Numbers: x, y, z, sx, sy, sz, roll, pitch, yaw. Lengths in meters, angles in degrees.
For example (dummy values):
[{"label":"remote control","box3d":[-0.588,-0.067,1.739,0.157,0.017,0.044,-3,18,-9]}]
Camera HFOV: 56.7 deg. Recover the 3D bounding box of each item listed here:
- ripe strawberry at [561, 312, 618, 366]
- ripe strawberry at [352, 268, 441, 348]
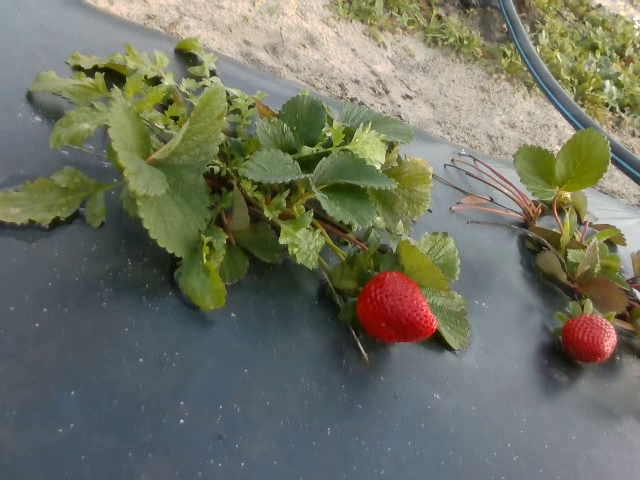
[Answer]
[{"label":"ripe strawberry","box3d":[0.176,0.067,0.378,0.041,0.045,0.052,-22,4,11]},{"label":"ripe strawberry","box3d":[0.043,0.039,0.300,0.046,0.051,0.050,-46,17,-14]}]
